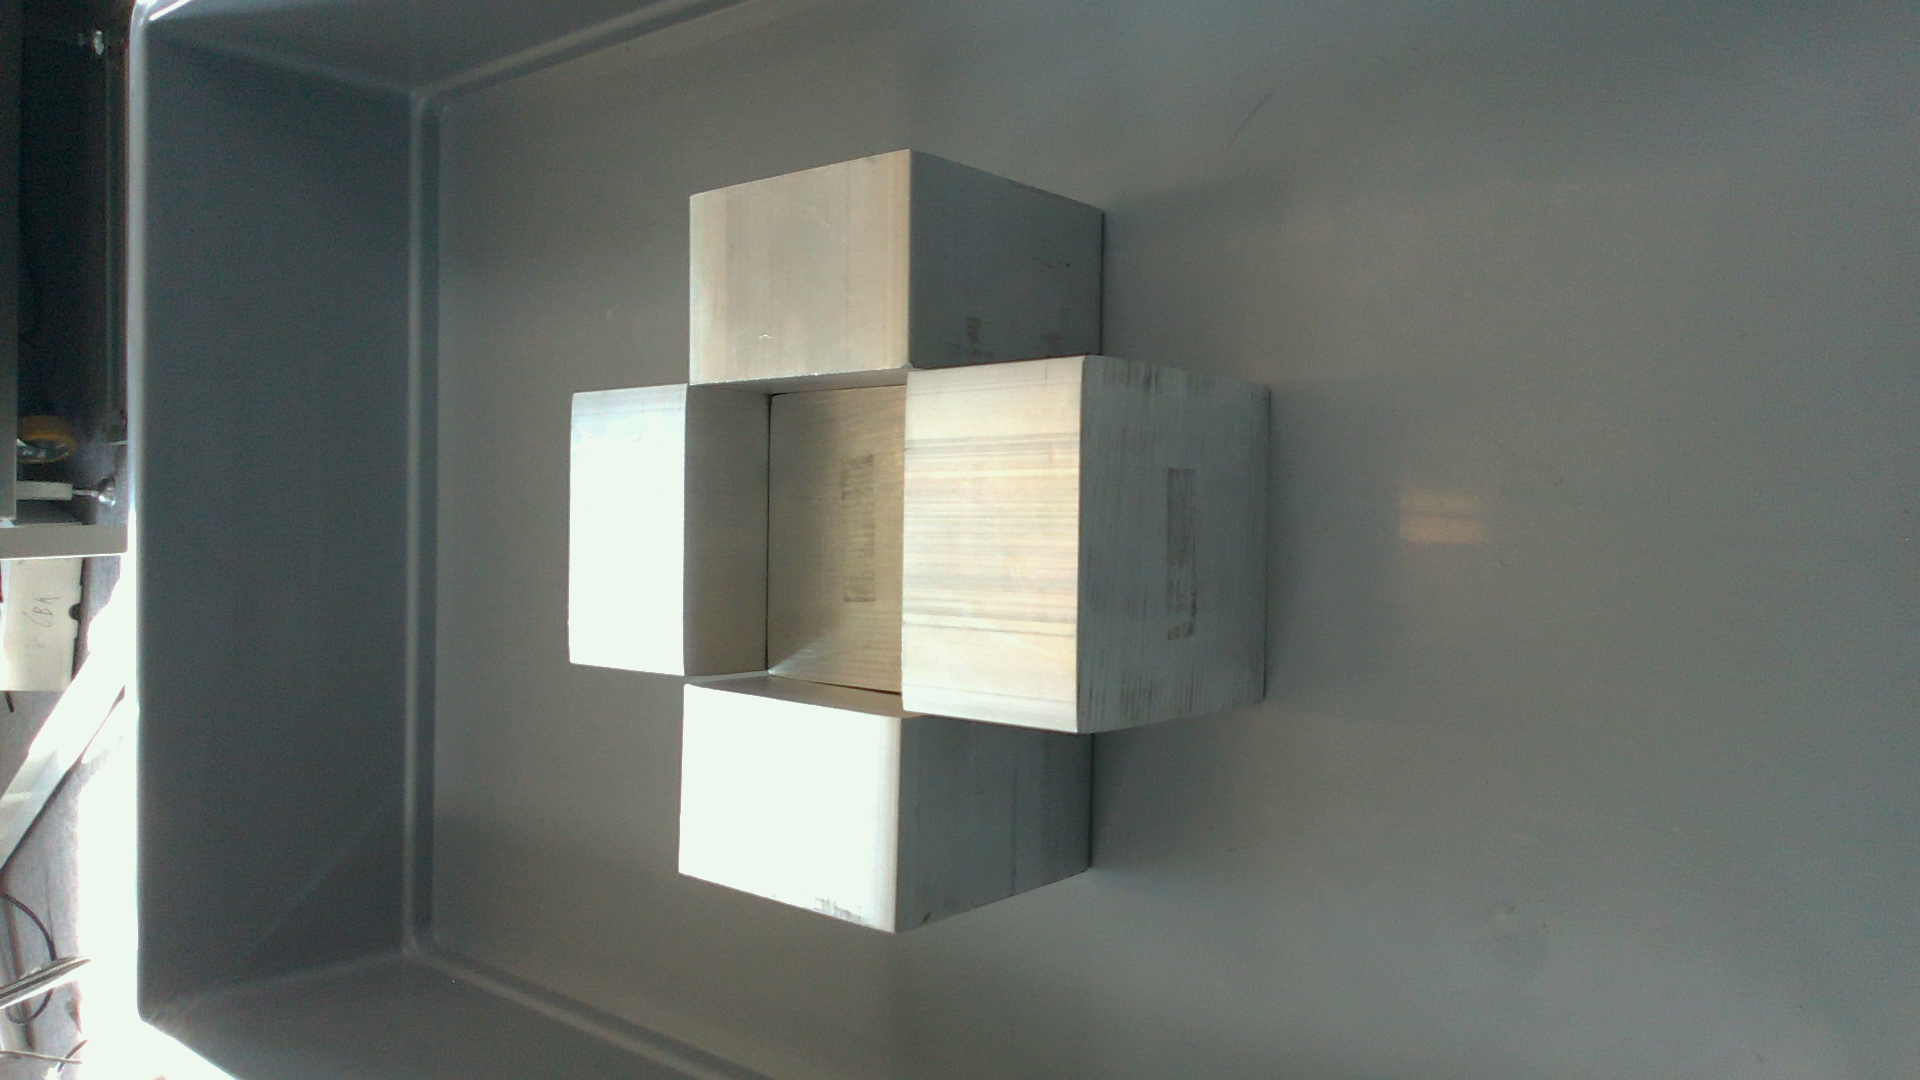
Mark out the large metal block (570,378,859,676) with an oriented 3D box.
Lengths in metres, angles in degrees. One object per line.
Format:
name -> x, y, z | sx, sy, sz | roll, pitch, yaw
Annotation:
large metal block -> -0.069, -0.004, 0.416 | 0.050, 0.080, 0.080 | 1, 91, 40

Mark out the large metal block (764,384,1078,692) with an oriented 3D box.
large metal block -> -0.009, -0.001, 0.383 | 0.080, 0.050, 0.080 | 1, 91, 40

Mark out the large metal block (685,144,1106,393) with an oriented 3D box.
large metal block -> -0.017, -0.066, 0.371 | 0.080, 0.080, 0.050 | 1, 91, 40

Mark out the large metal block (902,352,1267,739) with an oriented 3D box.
large metal block -> 0.032, 0.001, 0.331 | 0.050, 0.080, 0.080 | 1, 91, 40

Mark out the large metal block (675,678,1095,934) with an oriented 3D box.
large metal block -> -0.019, 0.065, 0.374 | 0.080, 0.080, 0.050 | 2, 92, 40
